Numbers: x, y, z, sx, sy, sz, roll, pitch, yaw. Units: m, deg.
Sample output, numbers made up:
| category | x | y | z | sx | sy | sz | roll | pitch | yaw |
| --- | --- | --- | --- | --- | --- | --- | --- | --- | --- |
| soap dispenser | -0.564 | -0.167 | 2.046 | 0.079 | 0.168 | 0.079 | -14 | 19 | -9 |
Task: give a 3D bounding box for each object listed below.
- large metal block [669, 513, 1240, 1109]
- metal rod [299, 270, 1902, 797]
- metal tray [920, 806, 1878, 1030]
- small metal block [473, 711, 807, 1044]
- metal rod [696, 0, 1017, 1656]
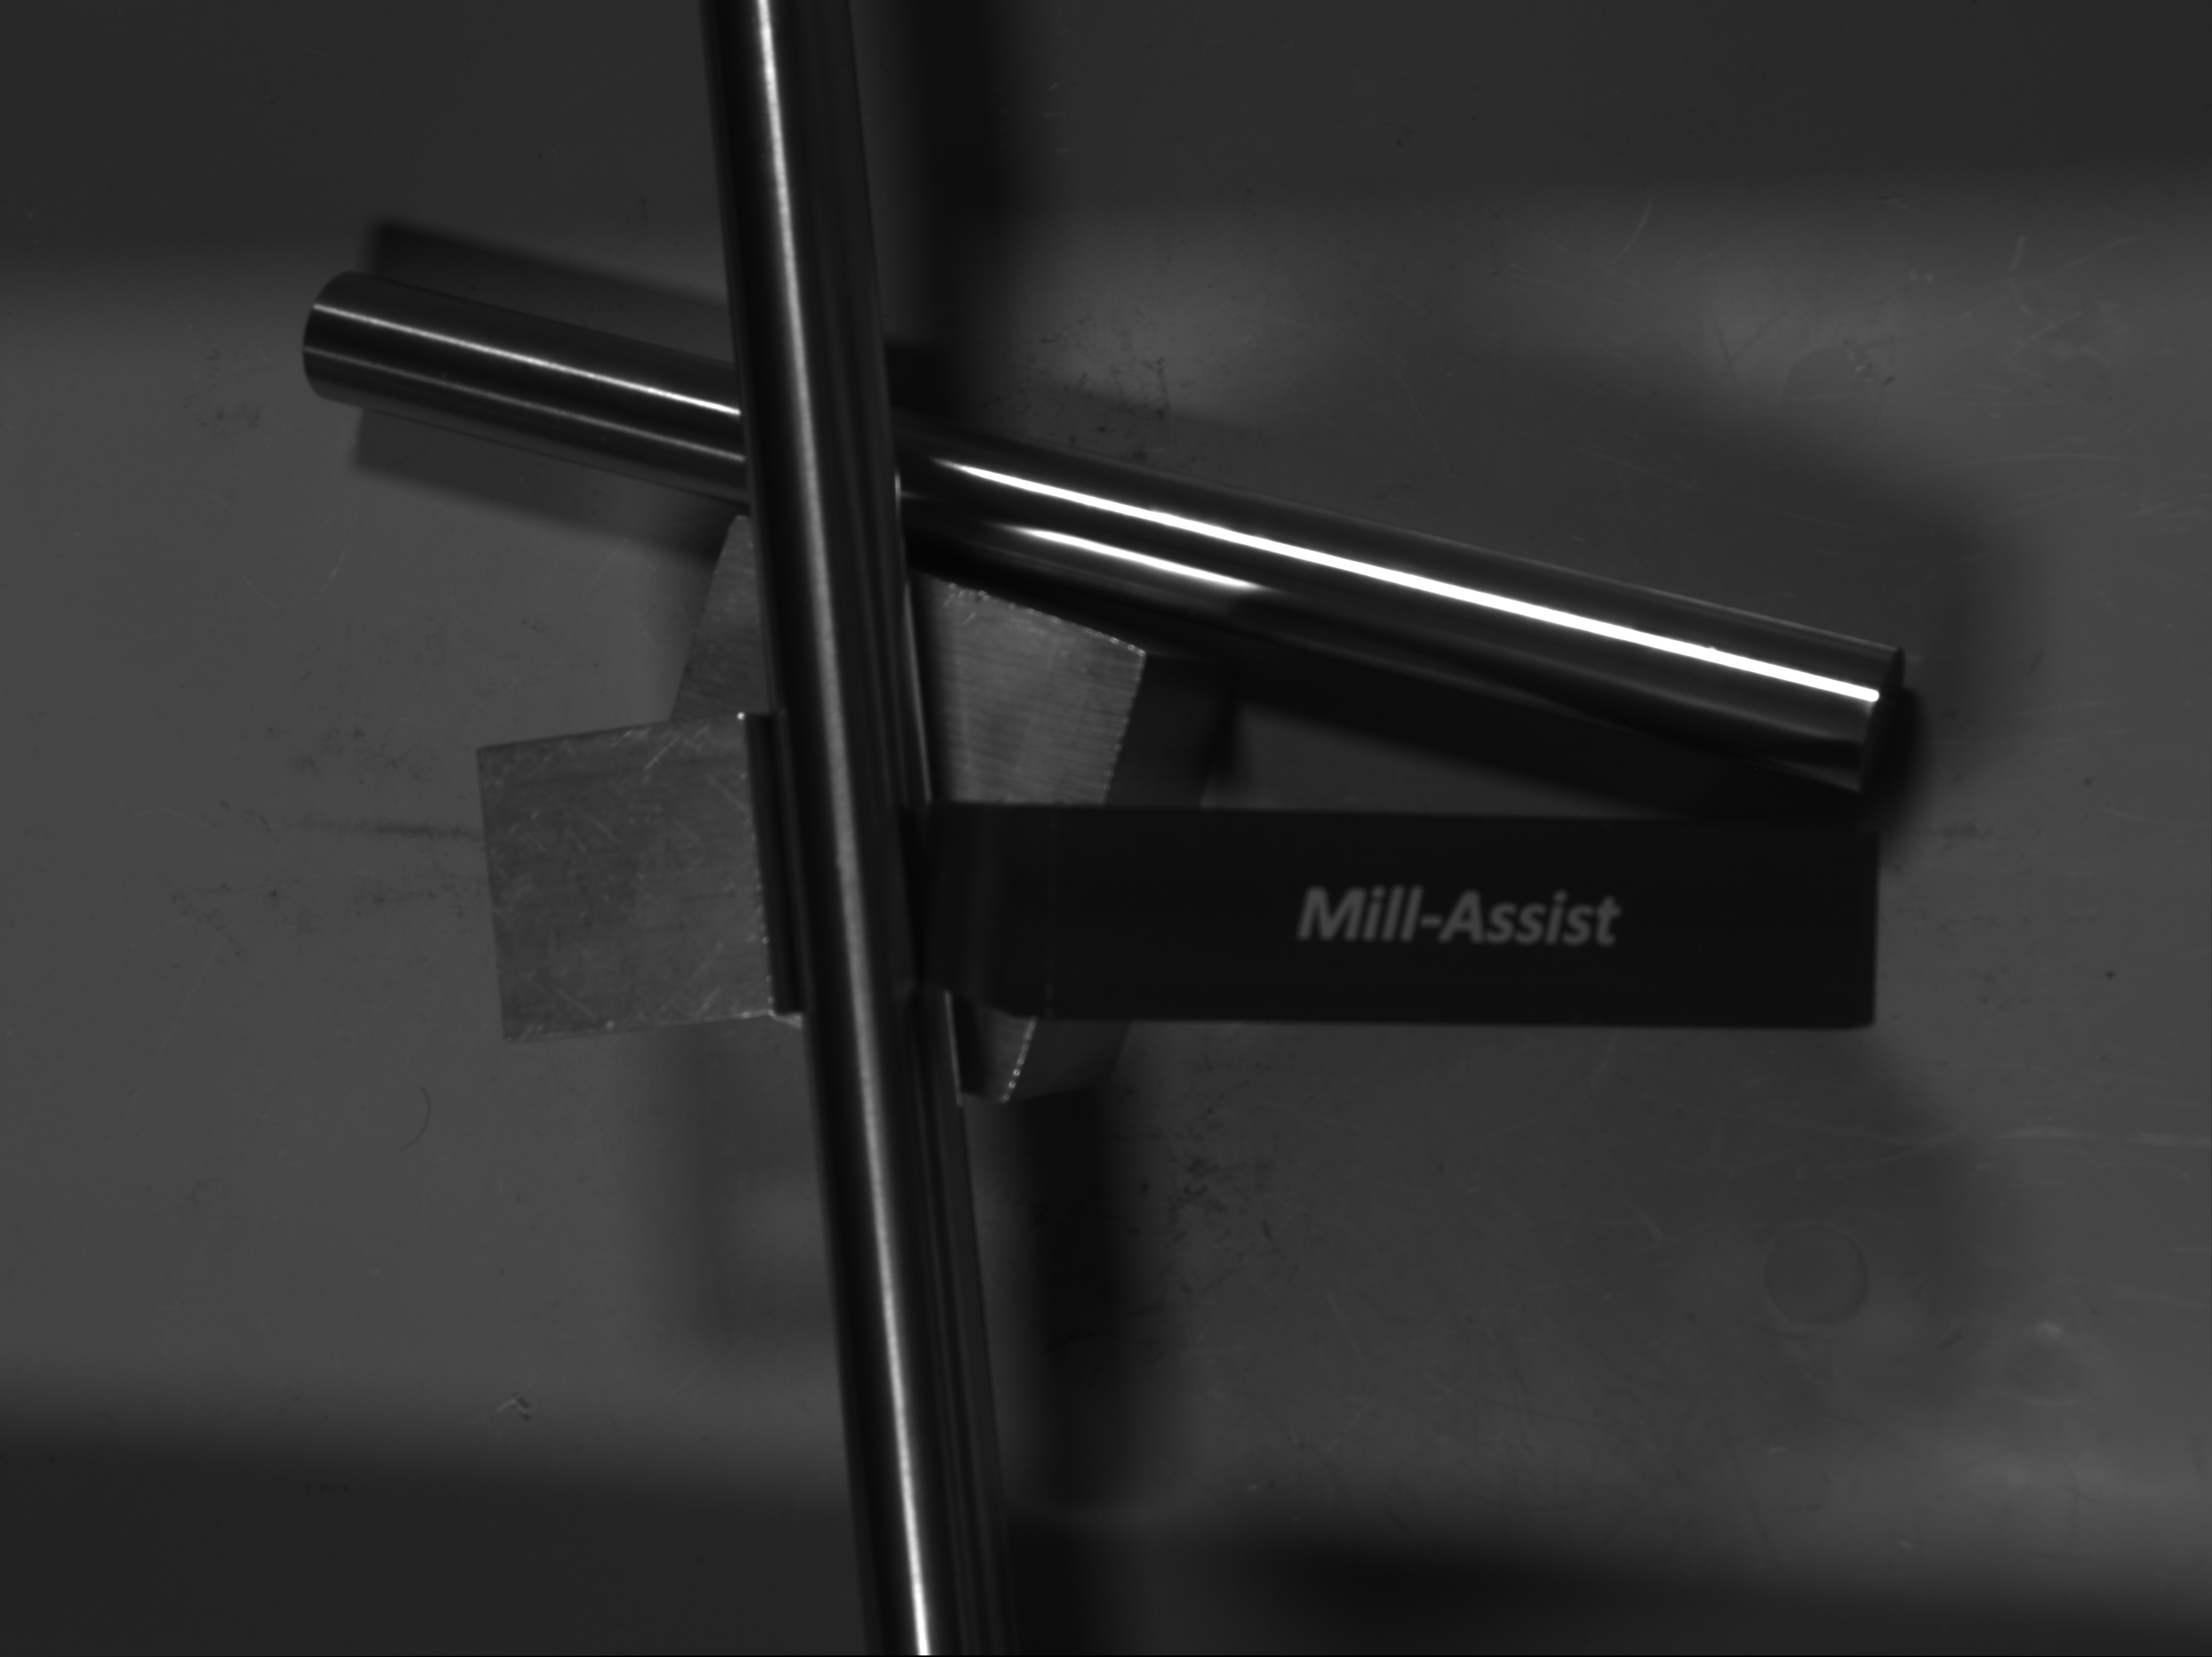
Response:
| category | x | y | z | sx | sy | sz | roll | pitch | yaw |
| --- | --- | --- | --- | --- | --- | --- | --- | --- | --- |
| large metal block | -0.032 | -0.004 | 0.642 | 0.080 | 0.050 | 0.080 | 19 | 96 | 19 |
| metal rod | -0.010 | -0.056 | 0.648 | 0.299 | 0.025 | 0.025 | 16 | 95 | 19 |
| metal tray | 0.042 | 0.013 | 0.566 | 0.130 | 0.090 | 0.030 | 1 | 91 | -12 |
| small metal block | -0.076 | 0.009 | 0.617 | 0.050 | 0.025 | 0.050 | -7 | 87 | 19 |
| metal rod | -0.042 | -0.002 | 0.605 | 0.025 | 0.025 | 0.300 | -7 | 88 | 20 |
